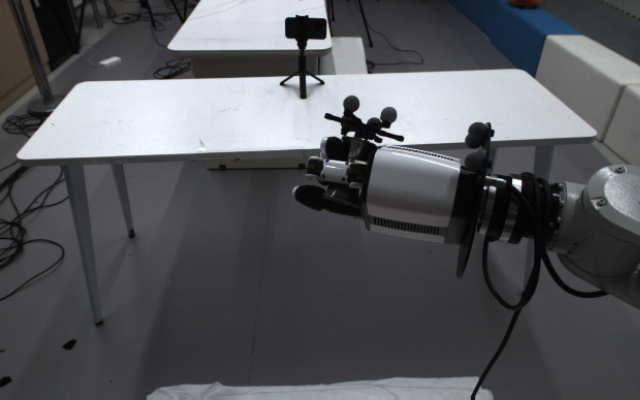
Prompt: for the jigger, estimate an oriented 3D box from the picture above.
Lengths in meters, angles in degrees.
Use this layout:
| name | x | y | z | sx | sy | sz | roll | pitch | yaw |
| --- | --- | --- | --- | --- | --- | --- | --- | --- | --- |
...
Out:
| name | x | y | z | sx | sy | sz | roll | pitch | yaw |
| --- | --- | --- | --- | --- | --- | --- | --- | --- | --- |
| jigger | 0.031 | -0.032 | 0.520 | 0.043 | 0.071 | 0.043 | 18 | -6 | 2 |
